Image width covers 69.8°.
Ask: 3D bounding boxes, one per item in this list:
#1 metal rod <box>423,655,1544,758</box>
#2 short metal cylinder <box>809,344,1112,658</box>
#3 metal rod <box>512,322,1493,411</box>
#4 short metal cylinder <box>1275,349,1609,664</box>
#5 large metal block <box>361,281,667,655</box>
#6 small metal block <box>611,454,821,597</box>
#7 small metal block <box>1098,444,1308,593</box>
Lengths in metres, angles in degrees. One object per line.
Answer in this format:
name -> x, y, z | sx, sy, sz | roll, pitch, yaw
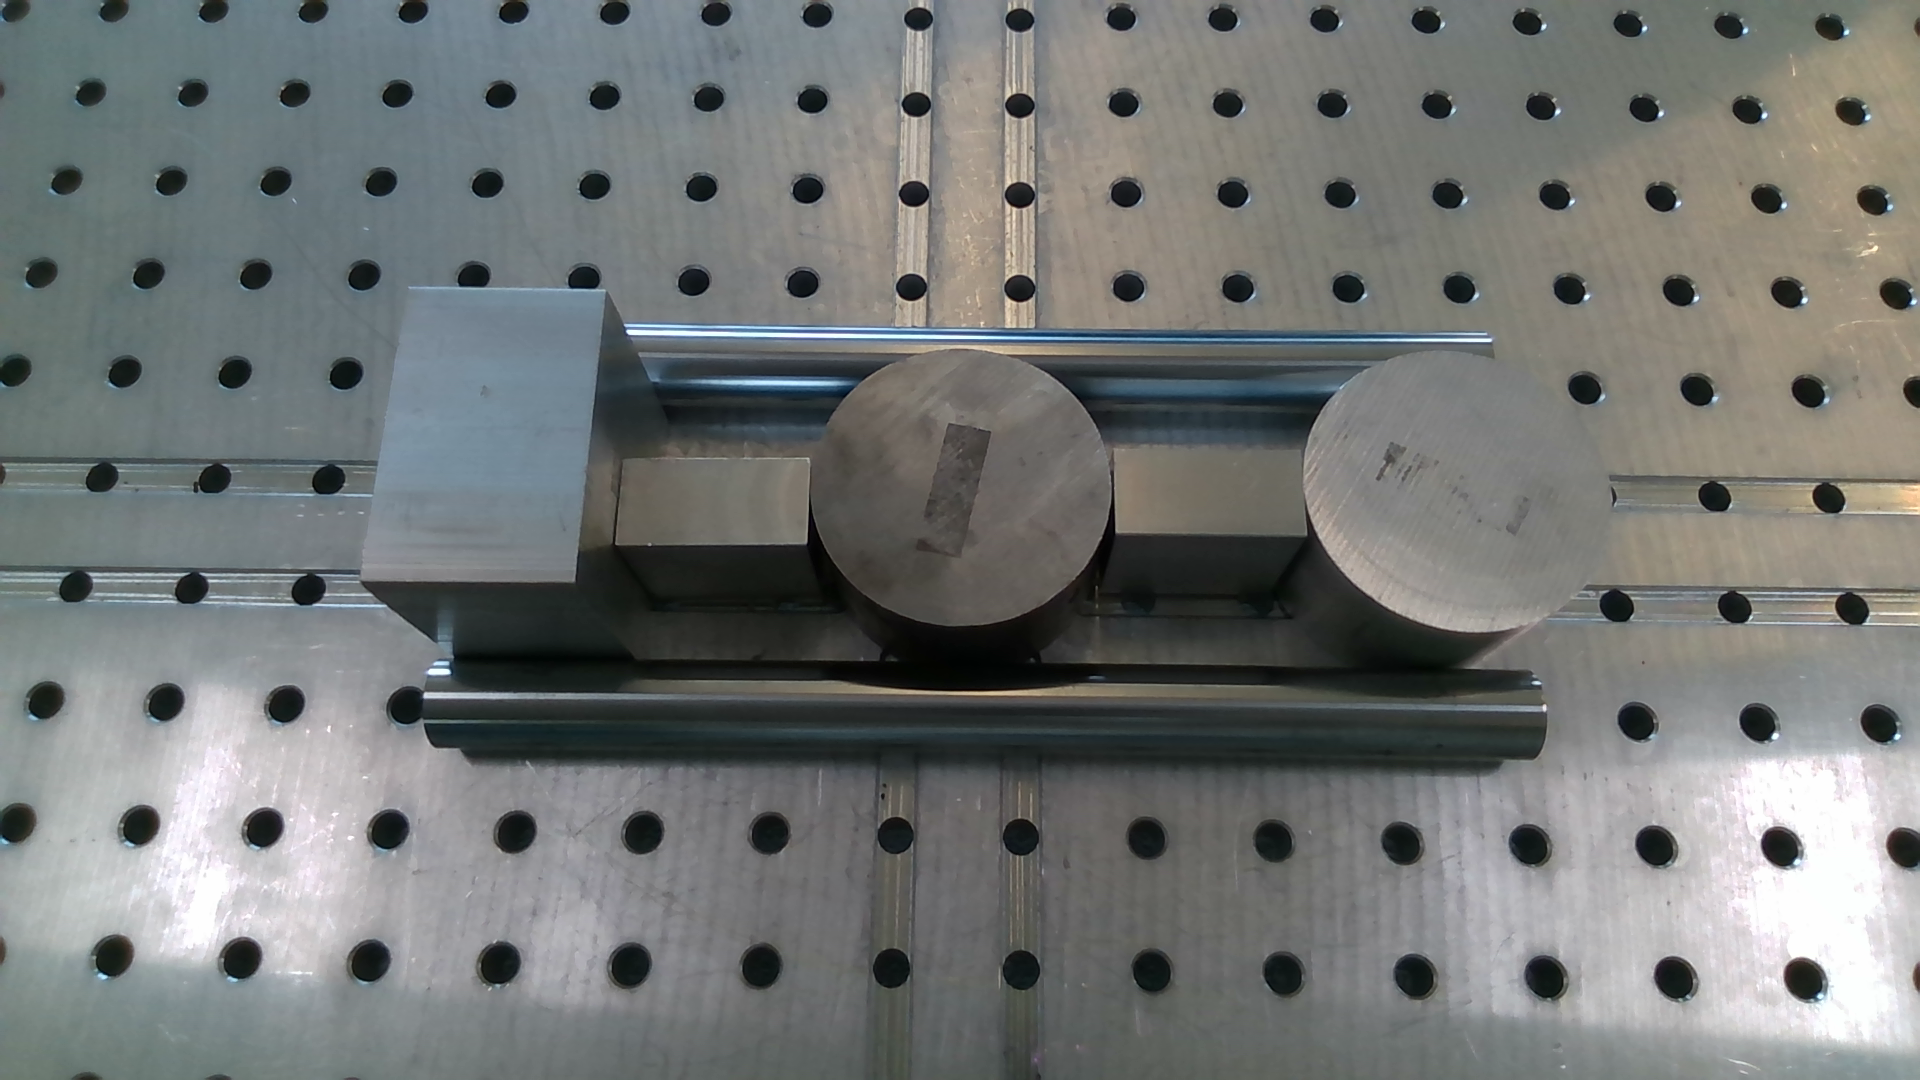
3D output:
metal rod -> 0.006, 0.046, 0.381 | 0.300, 0.025, 0.025 | 1, 70, 0
short metal cylinder -> 0.000, -0.008, 0.387 | 0.080, 0.050, 0.080 | 0, 70, 0
metal rod -> 0.006, -0.052, 0.416 | 0.300, 0.025, 0.025 | 1, 70, 0
short metal cylinder -> 0.131, -0.006, 0.387 | 0.080, 0.050, 0.080 | 0, 70, 0
large metal block -> -0.115, -0.014, 0.374 | 0.050, 0.080, 0.080 | 1, 70, 0
small metal block -> -0.066, -0.003, 0.385 | 0.050, 0.050, 0.025 | 0, 70, 0
small metal block -> 0.065, -0.005, 0.385 | 0.050, 0.050, 0.025 | 1, 70, 0
